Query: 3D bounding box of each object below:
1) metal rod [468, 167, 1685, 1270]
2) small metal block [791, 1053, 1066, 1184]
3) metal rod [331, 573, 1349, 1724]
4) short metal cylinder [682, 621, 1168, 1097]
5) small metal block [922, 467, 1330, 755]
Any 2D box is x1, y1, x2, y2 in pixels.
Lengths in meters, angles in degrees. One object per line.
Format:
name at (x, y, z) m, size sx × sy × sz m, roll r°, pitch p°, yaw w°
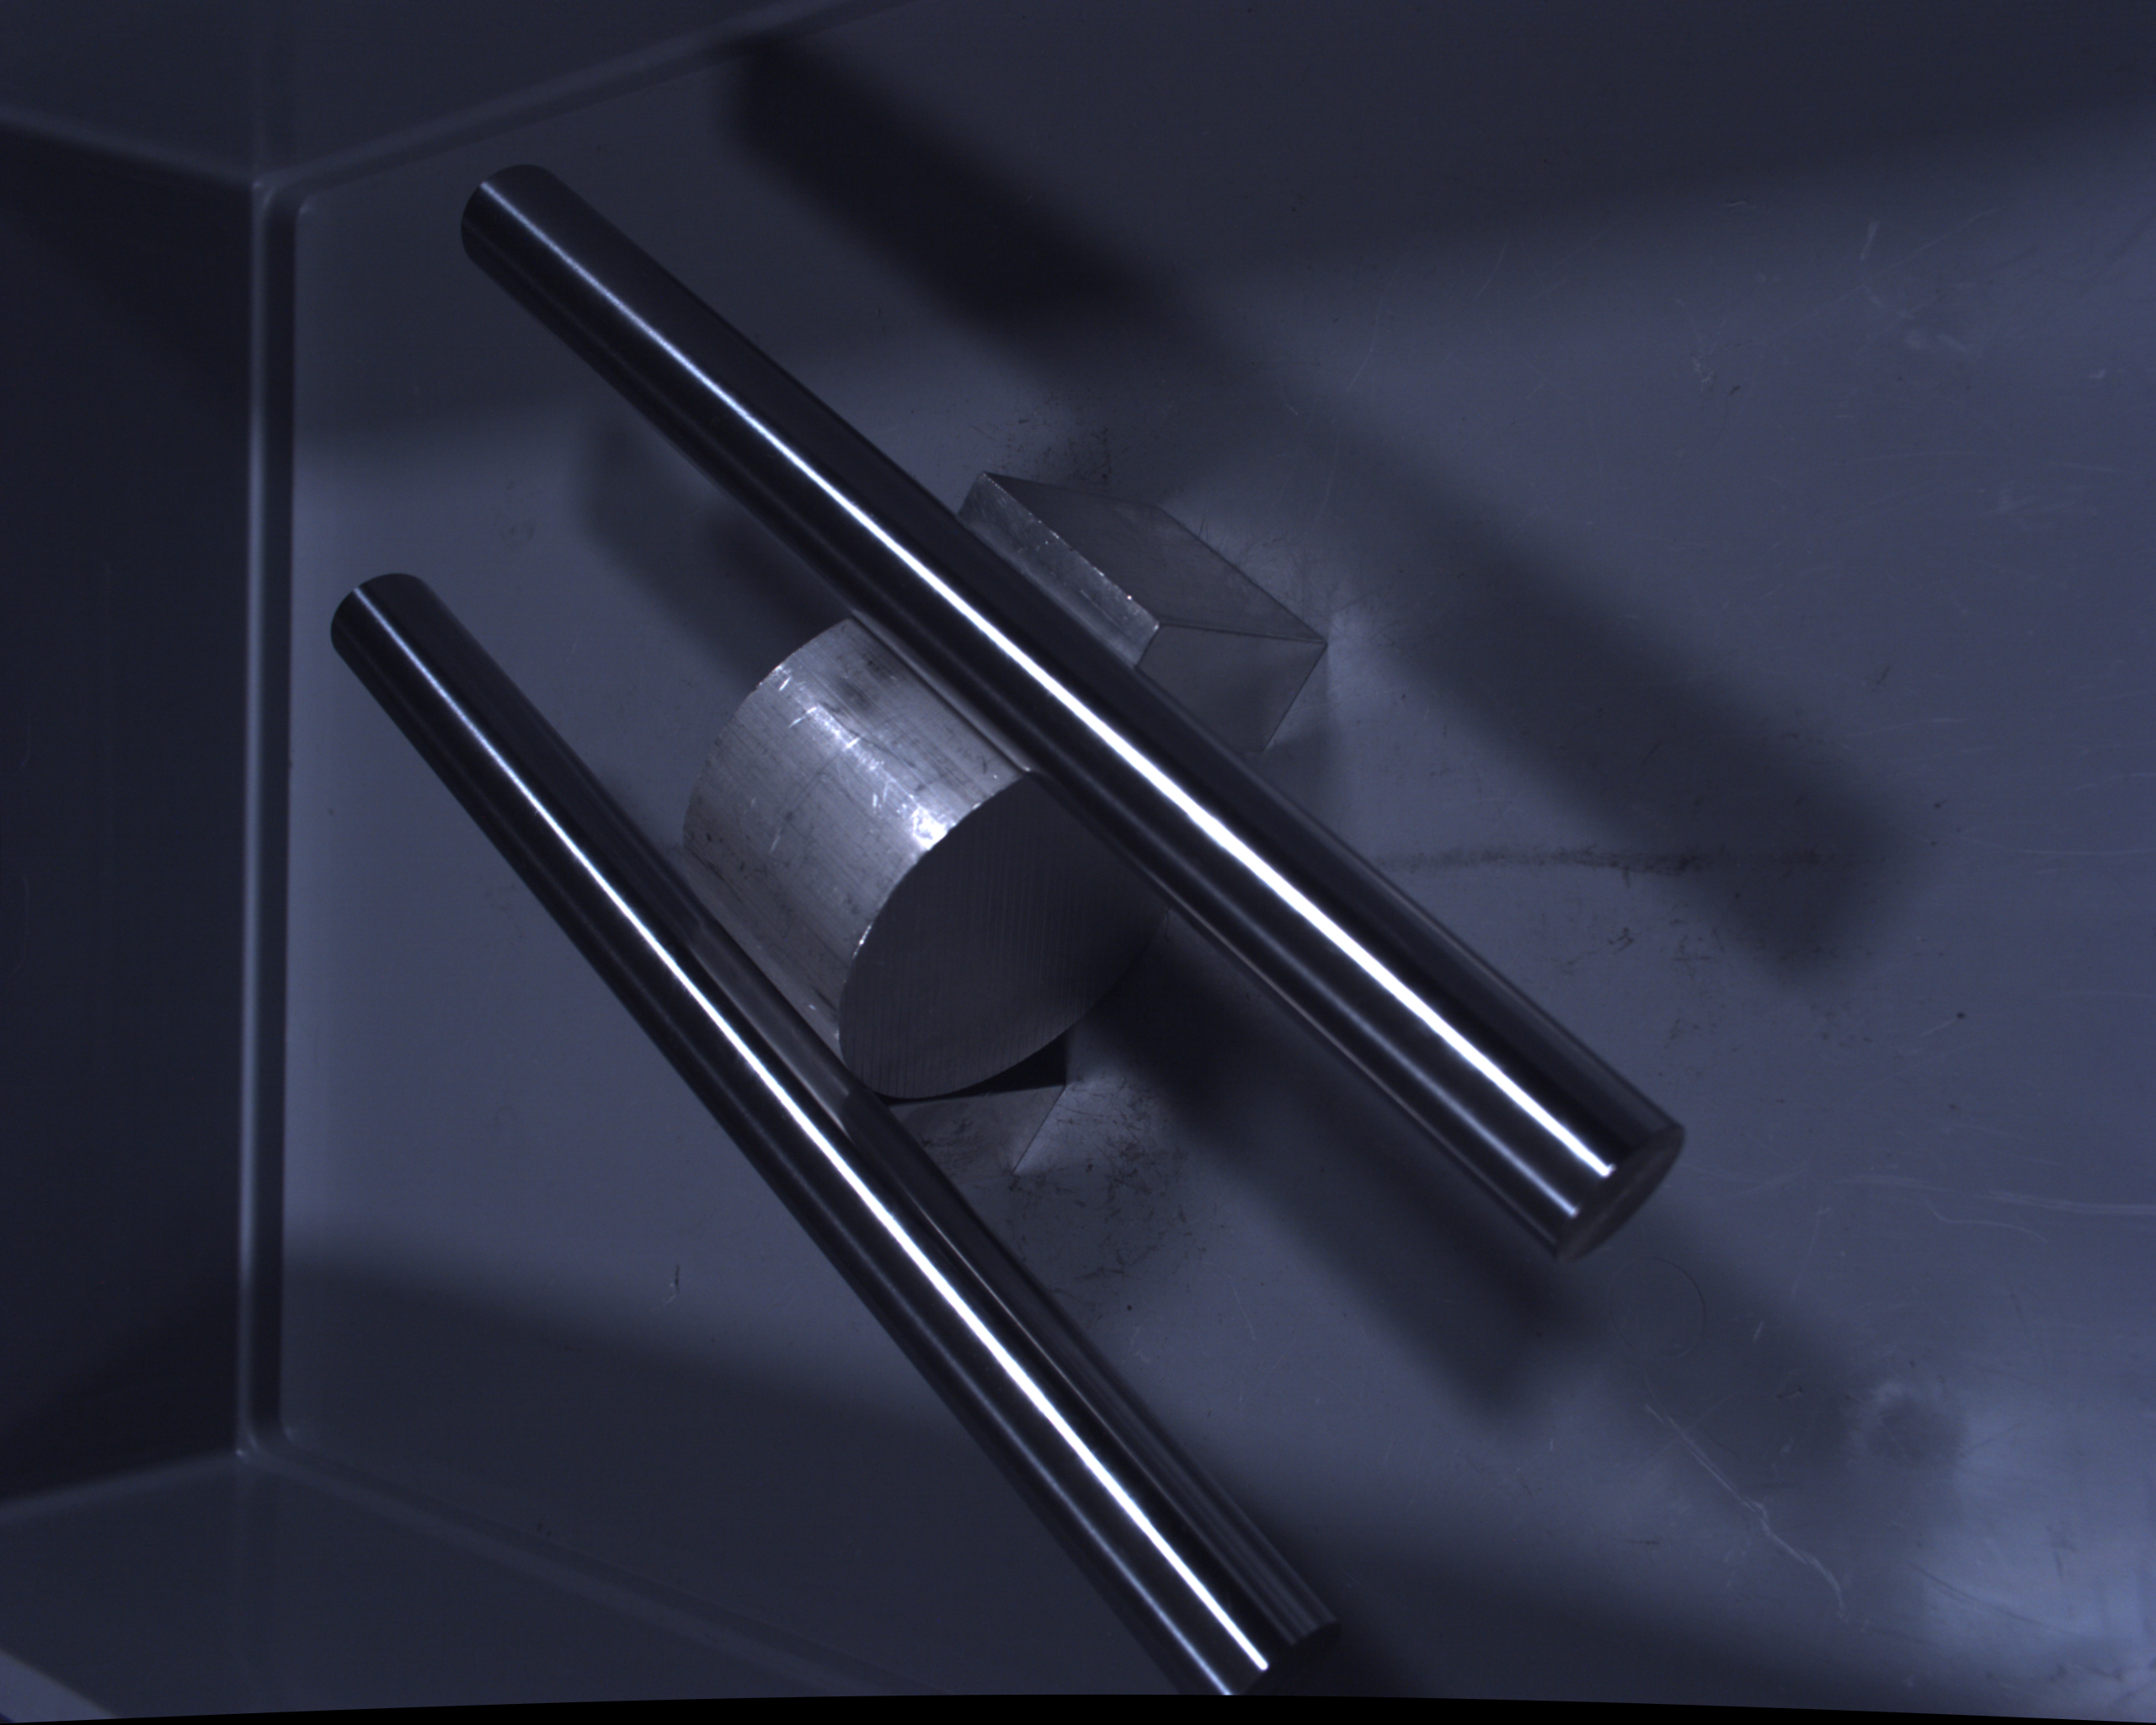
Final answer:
metal rod at (-0.021, -0.043, 0.356) m, size 0.300 × 0.025 × 0.025 m, roll 43°, pitch 116°, yaw 31°
small metal block at (-0.040, 0.040, 0.419) m, size 0.050 × 0.050 × 0.025 m, roll 44°, pitch 117°, yaw 30°
metal rod at (-0.062, 0.034, 0.390) m, size 0.300 × 0.025 × 0.025 m, roll 43°, pitch 116°, yaw 31°
short metal cylinder at (-0.025, -0.003, 0.388) m, size 0.050 × 0.081 × 0.080 m, roll 44°, pitch 116°, yaw 31°
small metal block at (0.009, -0.045, 0.379) m, size 0.050 × 0.050 × 0.025 m, roll 44°, pitch 117°, yaw 30°
